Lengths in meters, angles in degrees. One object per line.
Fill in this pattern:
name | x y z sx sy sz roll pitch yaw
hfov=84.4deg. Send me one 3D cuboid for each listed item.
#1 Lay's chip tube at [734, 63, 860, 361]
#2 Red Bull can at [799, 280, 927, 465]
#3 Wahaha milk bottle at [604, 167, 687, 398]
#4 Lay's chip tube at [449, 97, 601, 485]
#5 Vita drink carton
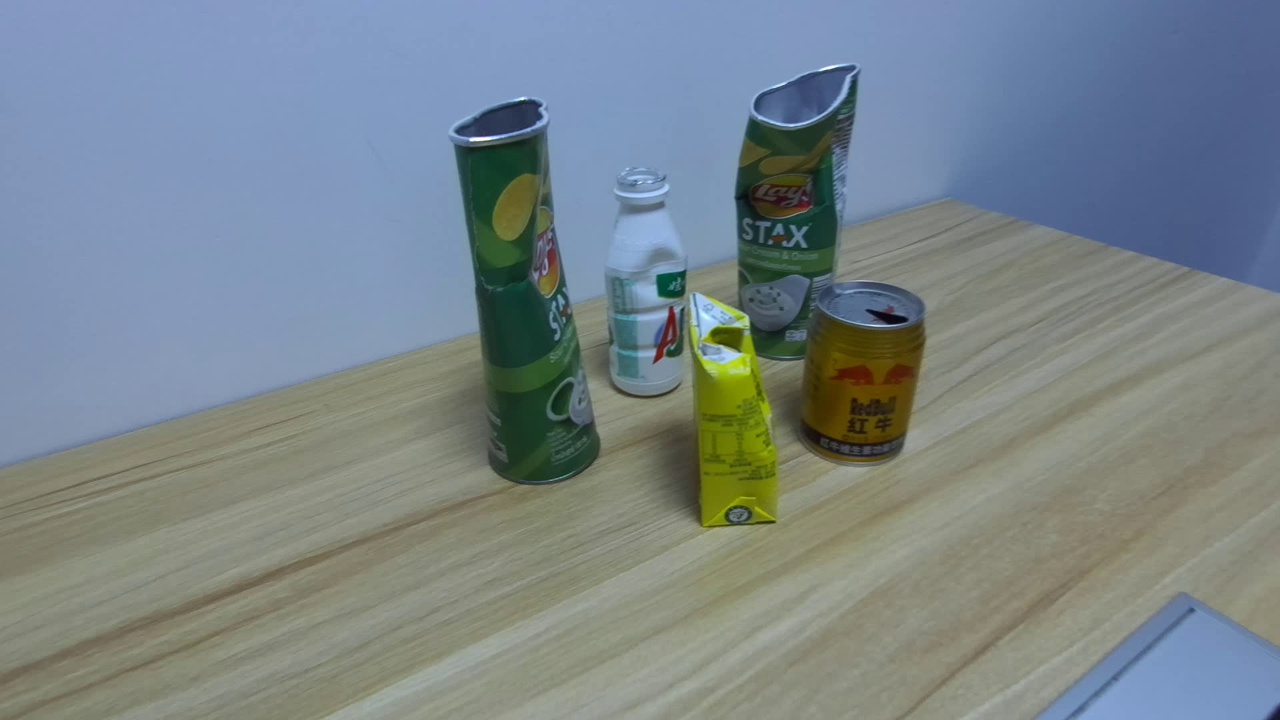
Lay's chip tube | 0.105 -0.092 0.487 0.079 0.199 0.071 -1 38 3
Red Bull can | 0.130 0.007 0.418 0.067 0.093 0.067 0 29 0
Wahaha milk bottle | 0.004 -0.048 0.461 0.055 0.149 0.055 0 33 0
Lay's chip tube | -0.063 -0.031 0.391 0.069 0.200 0.074 -20 34 -27
Vita drink carton | 0.050 0.026 0.372 0.046 0.110 0.071 -3 31 2
